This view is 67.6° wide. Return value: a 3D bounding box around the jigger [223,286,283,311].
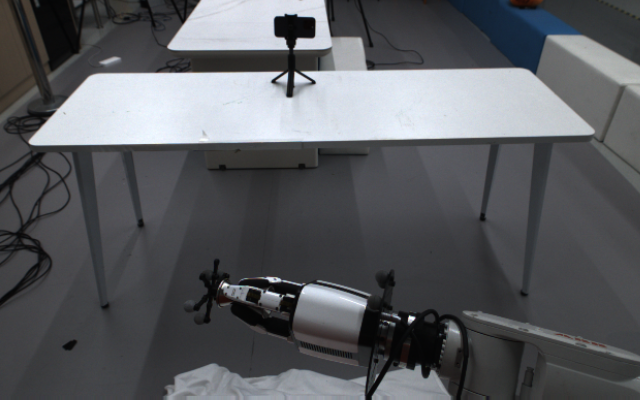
[{"bbox_3d":[-0.094,0.128,0.652,0.071,0.043,0.043,8,35,15],"label":"jigger"}]
